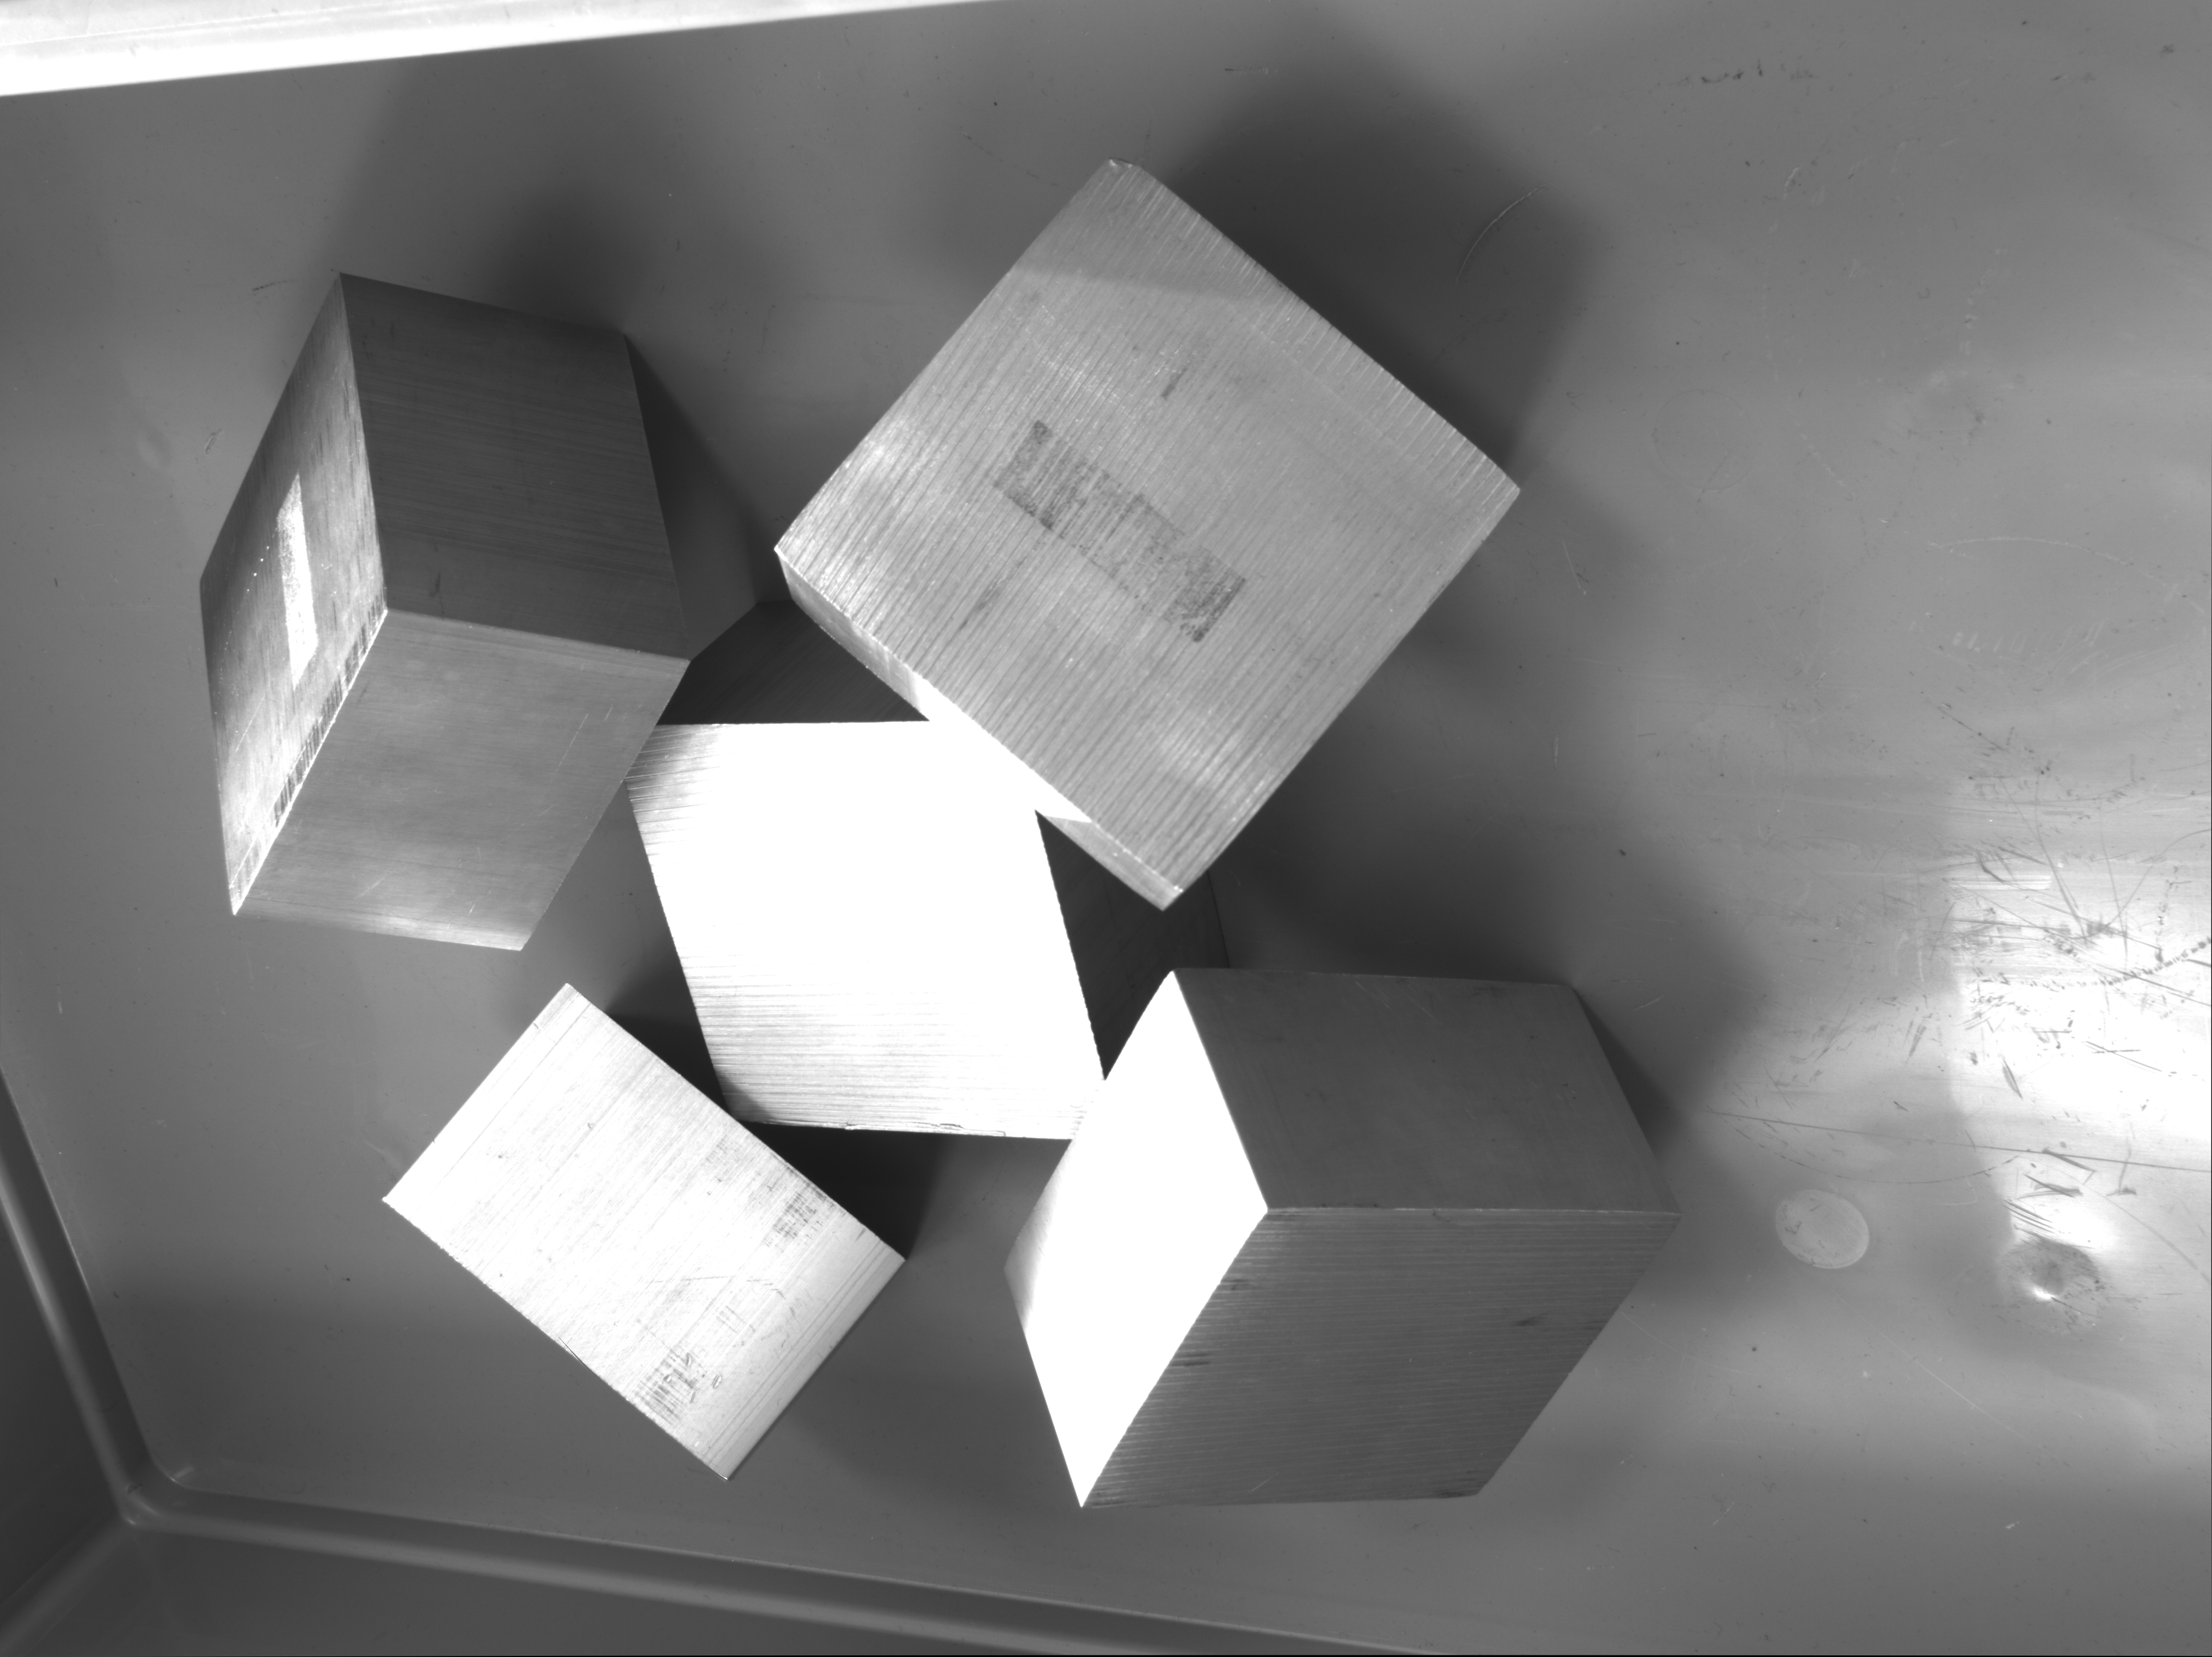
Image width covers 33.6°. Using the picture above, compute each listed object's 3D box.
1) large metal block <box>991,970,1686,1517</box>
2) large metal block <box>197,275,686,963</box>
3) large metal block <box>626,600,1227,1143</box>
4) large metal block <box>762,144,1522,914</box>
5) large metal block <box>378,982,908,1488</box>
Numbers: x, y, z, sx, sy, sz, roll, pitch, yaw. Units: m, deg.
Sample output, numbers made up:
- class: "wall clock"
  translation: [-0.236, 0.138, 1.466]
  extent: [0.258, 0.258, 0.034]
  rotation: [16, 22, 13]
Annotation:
- class: "large metal block"
  translation: [0.037, 0.071, 0.620]
  extent: [0.080, 0.050, 0.080]
  rotation: [4, 134, -28]
- class: "large metal block"
  translation: [-0.118, -0.035, 0.636]
  extent: [0.050, 0.080, 0.080]
  rotation: [8, 136, -30]
- class: "large metal block"
  translation: [-0.031, 0.007, 0.644]
  extent: [0.080, 0.050, 0.080]
  rotation: [1, 119, 28]
- class: "large metal block"
  translation: [0.005, -0.044, 0.568]
  extent: [0.080, 0.050, 0.080]
  rotation: [40, 86, 2]
- class: "large metal block"
  translation: [-0.084, 0.076, 0.690]
  extent: [0.080, 0.050, 0.080]
  rotation: [39, 173, 2]
